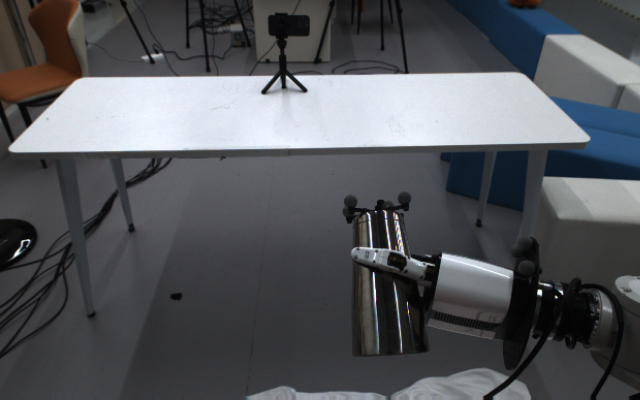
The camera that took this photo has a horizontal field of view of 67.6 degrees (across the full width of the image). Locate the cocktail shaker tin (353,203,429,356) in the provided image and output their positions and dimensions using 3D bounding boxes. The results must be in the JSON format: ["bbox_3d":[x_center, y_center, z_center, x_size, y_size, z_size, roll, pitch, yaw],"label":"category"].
[{"bbox_3d":[0.081,0.104,0.604,0.093,0.093,0.170,-2,71,-6],"label":"cocktail shaker tin"}]
